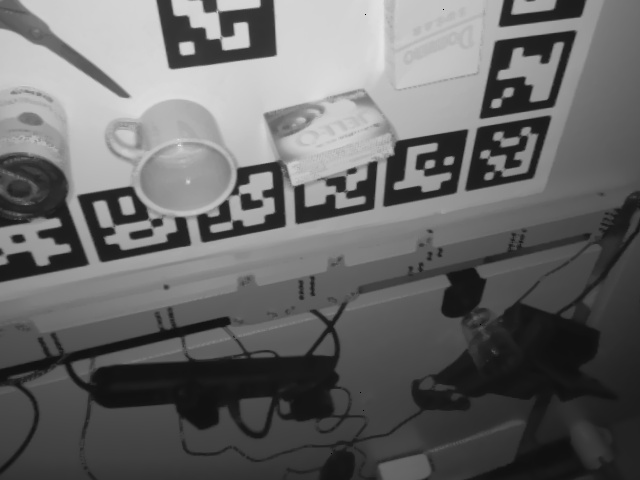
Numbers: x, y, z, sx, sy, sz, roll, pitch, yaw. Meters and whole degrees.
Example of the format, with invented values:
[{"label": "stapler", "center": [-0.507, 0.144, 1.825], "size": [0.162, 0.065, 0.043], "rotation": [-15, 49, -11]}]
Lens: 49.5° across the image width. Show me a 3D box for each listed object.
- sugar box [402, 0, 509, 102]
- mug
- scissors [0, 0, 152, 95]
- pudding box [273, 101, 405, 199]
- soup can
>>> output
[{"label": "sugar box", "center": [0.130, -0.223, 0.660], "size": [0.094, 0.045, 0.175], "rotation": [-13, 133, -13]}, {"label": "mug", "center": [-0.128, -0.071, 0.661], "size": [0.093, 0.081, 0.118], "rotation": [-37, 135, 10]}, {"label": "scissors", "center": [-0.221, -0.177, 0.571], "size": [0.087, 0.016, 0.204], "rotation": [-47, 130, 9]}, {"label": "pudding box", "center": [0.018, -0.091, 0.693], "size": [0.114, 0.090, 0.038], "rotation": [-16, 128, -7]}, {"label": "soup can", "center": [-0.237, -0.081, 0.604], "size": [0.068, 0.102, 0.067], "rotation": [-12, 135, -12]}]
